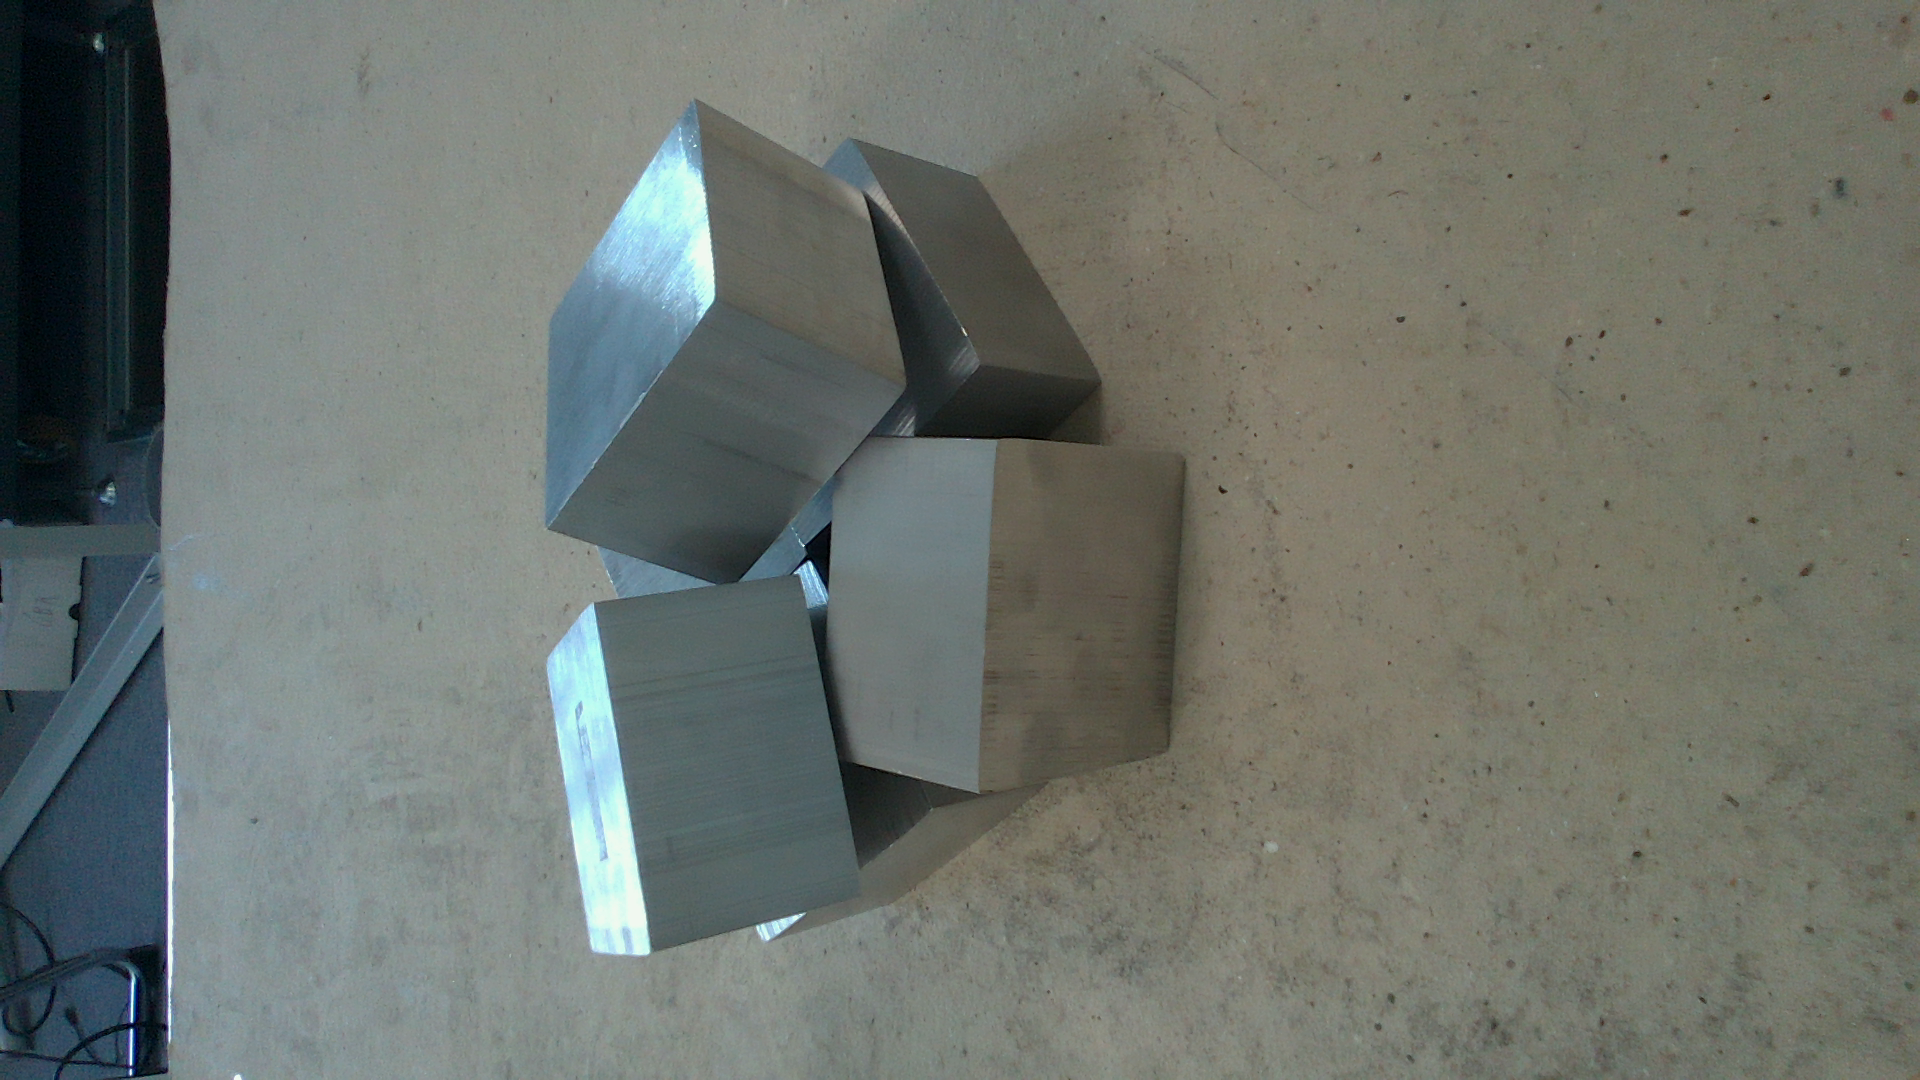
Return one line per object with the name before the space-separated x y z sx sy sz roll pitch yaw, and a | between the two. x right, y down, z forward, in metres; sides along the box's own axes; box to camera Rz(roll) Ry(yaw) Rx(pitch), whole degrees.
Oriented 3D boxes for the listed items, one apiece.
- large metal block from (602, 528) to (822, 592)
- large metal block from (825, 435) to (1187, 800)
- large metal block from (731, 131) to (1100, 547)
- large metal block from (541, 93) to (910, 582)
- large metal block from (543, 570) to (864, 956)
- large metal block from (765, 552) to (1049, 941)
large metal block | -0.068 -0.006 0.437 0.080 0.050 0.080 -43 64 31
large metal block | 0.013 0.016 0.349 0.050 0.080 0.080 5 93 40
large metal block | -0.020 -0.054 0.394 0.080 0.050 0.080 -43 64 31
large metal block | -0.062 -0.048 0.345 0.080 0.050 0.080 -45 40 30
large metal block | -0.069 0.059 0.352 0.080 0.050 0.080 -32 68 62
large metal block | -0.032 0.059 0.407 0.080 0.050 0.080 -43 64 31
